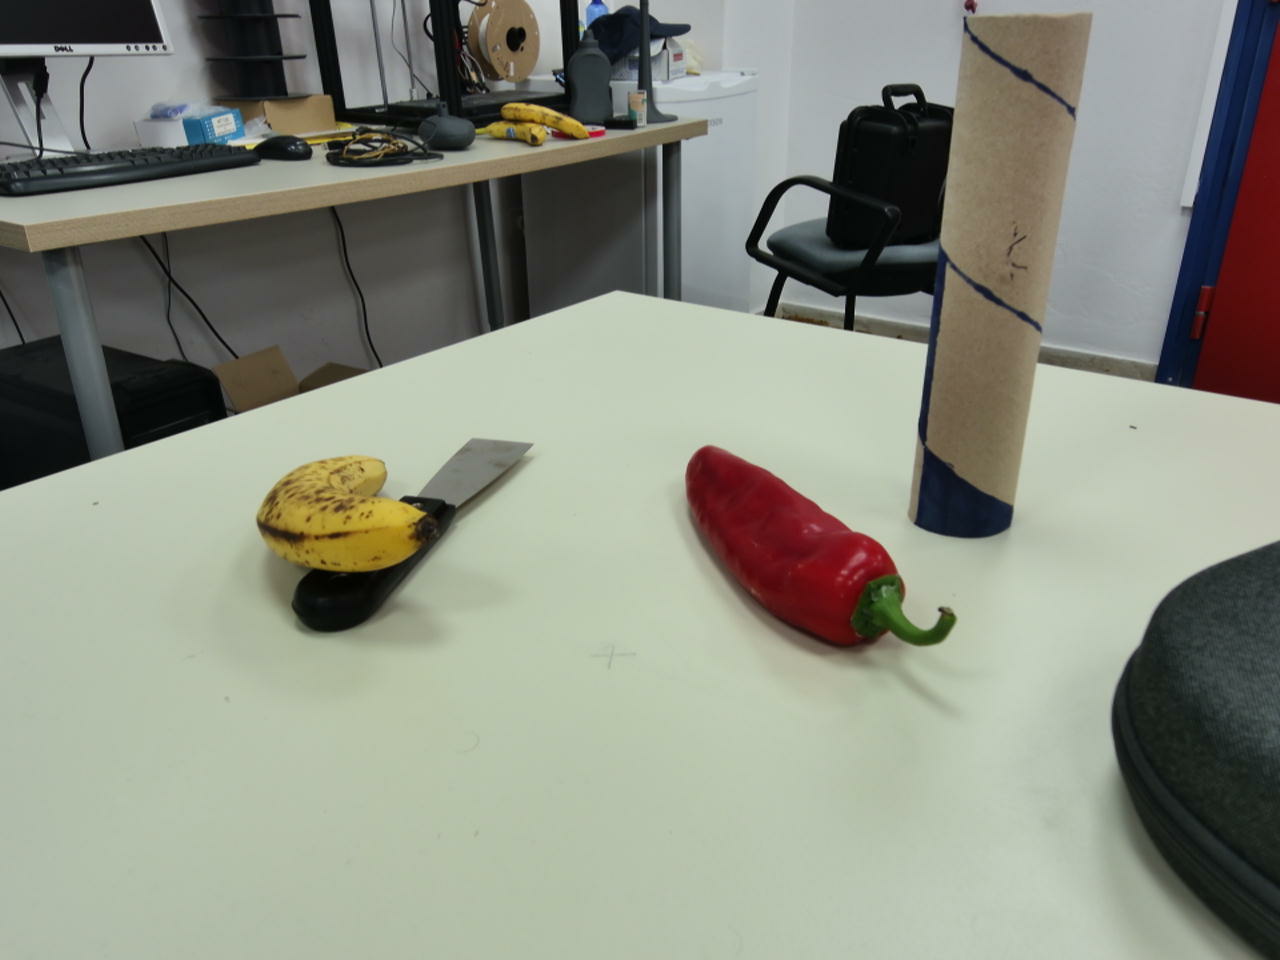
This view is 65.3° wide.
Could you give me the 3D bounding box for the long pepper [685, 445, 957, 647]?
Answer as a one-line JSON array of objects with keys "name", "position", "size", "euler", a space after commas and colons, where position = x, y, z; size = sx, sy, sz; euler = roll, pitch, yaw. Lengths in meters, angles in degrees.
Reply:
[{"name": "long pepper", "position": [0.061, 0.024, 0.436], "size": [0.050, 0.043, 0.211], "euler": [-8, 24, -18]}]
